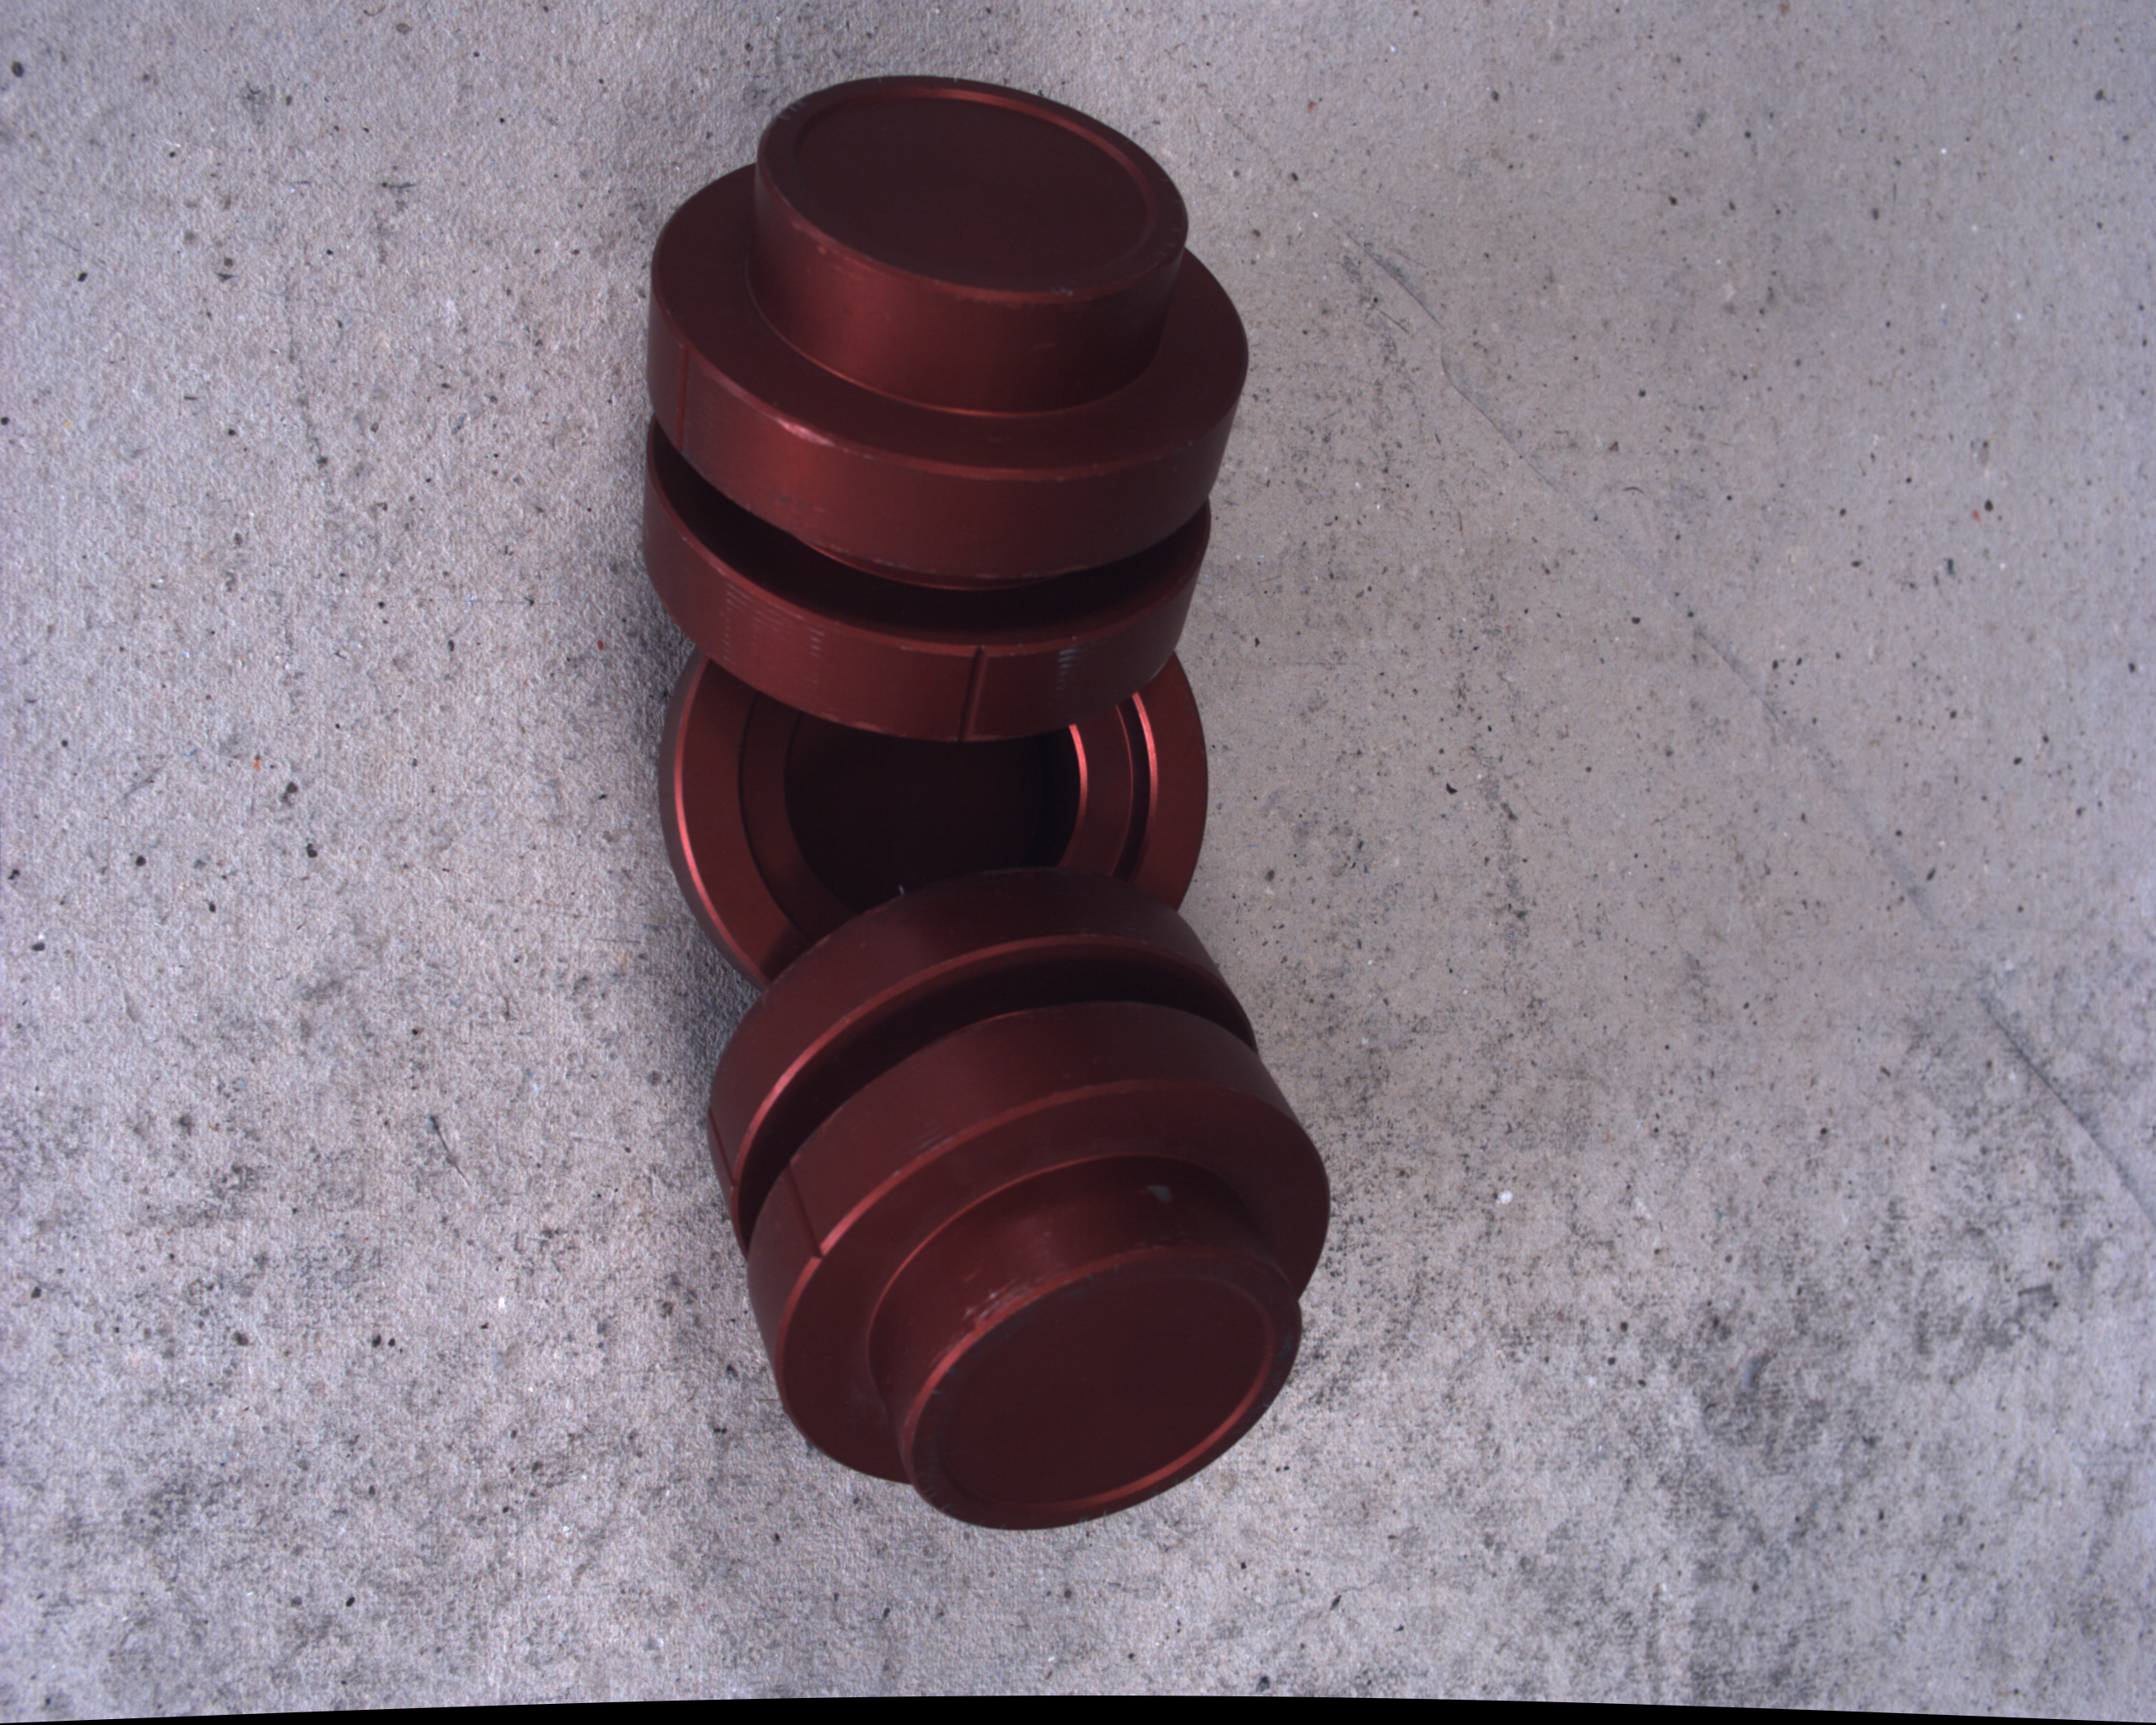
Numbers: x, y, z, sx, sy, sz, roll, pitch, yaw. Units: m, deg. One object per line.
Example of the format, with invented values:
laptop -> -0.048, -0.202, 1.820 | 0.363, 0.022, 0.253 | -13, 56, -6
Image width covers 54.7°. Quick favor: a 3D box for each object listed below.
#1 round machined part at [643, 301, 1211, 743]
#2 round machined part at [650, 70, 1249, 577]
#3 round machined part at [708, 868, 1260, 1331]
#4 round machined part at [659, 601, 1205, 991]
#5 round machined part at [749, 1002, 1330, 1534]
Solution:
round machined part -> -0.025, -0.069, 0.363 | 0.099, 0.042, 0.098 | 8, 46, -8
round machined part -> -0.020, -0.094, 0.343 | 0.099, 0.042, 0.098 | 8, 46, -8
round machined part -> -0.013, 0.052, 0.370 | 0.099, 0.042, 0.097 | -13, 131, -15
round machined part -> -0.029, -0.015, 0.391 | 0.099, 0.042, 0.097 | 0, 90, -20
round machined part -> -0.002, 0.074, 0.349 | 0.099, 0.042, 0.097 | -13, 130, -16
